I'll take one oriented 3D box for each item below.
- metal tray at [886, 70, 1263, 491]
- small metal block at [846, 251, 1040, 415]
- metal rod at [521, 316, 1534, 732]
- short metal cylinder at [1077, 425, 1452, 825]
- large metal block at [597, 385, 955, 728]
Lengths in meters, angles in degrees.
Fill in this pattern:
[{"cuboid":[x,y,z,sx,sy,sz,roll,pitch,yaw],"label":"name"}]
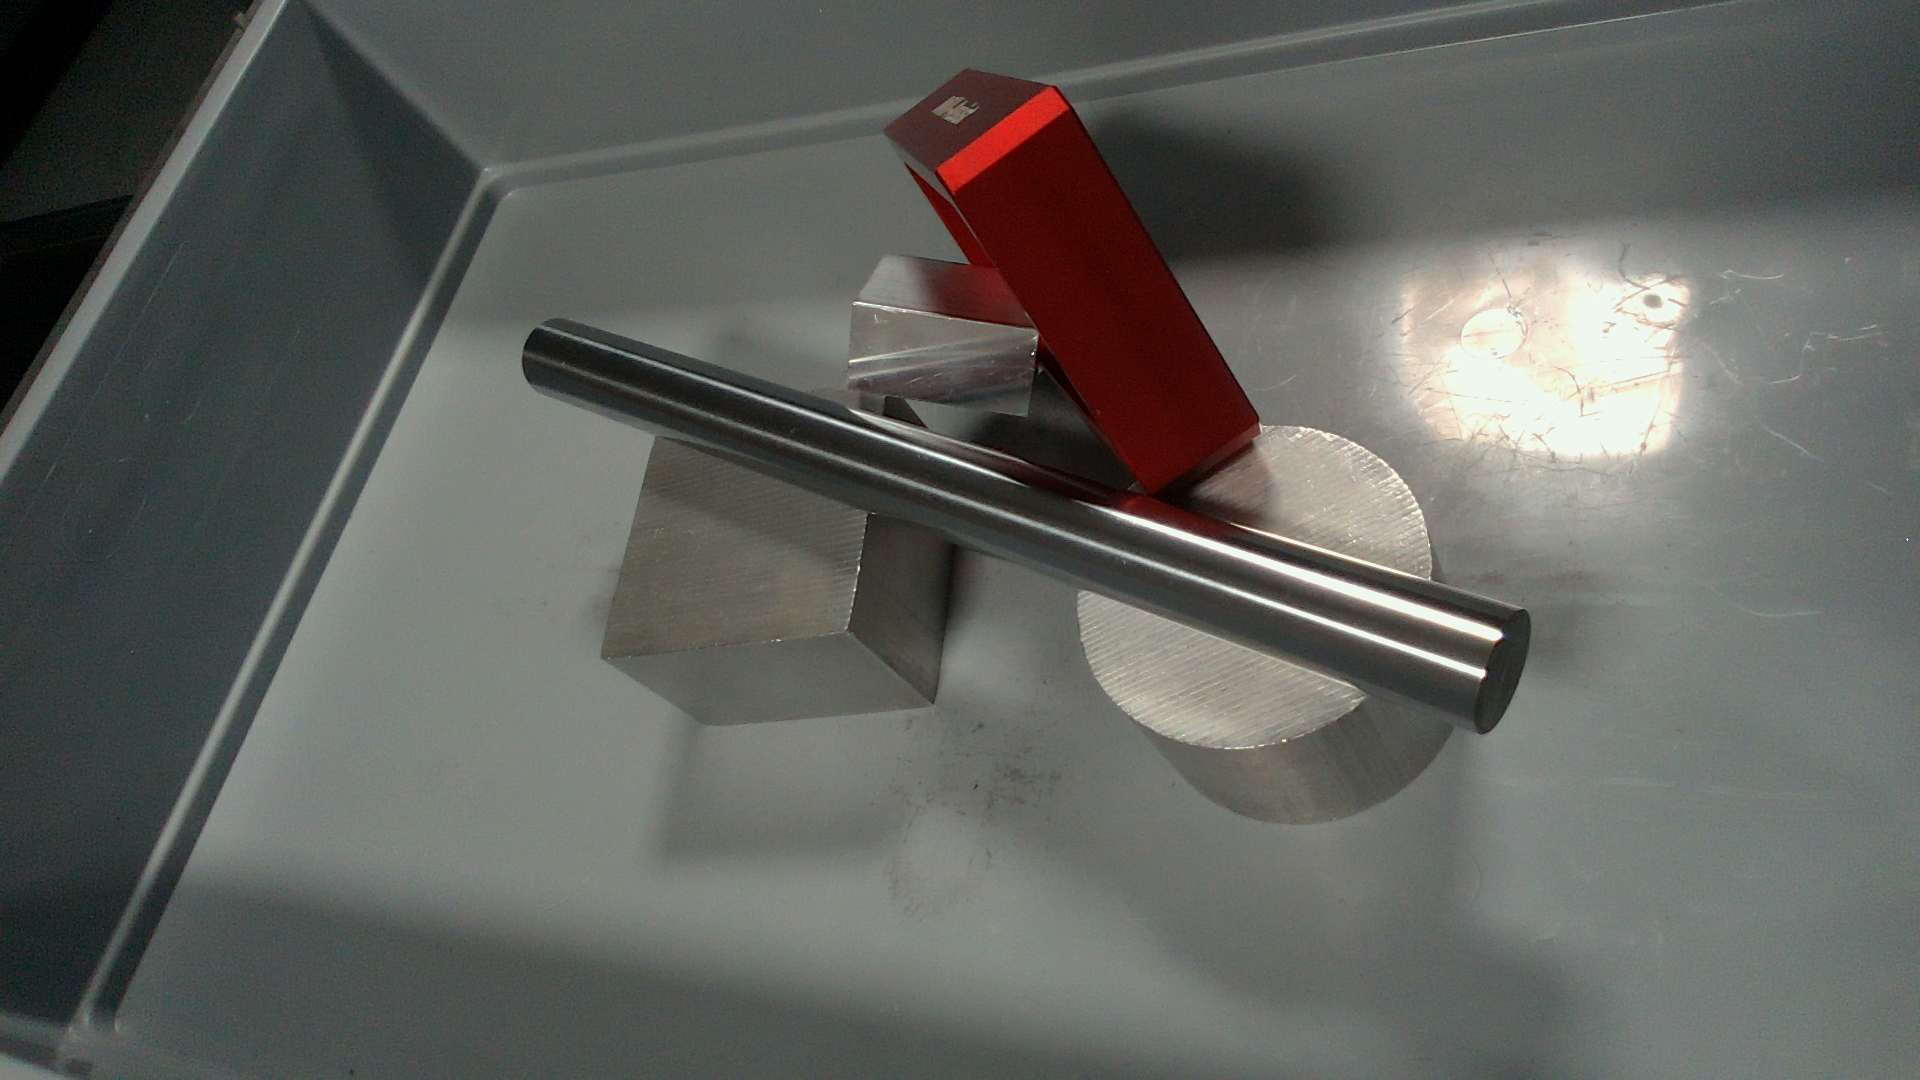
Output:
[{"cuboid":[0.023,-0.071,0.350,0.030,0.090,0.130,-35,21,5],"label":"metal tray"},{"cuboid":[-0.001,-0.059,0.386,0.050,0.025,0.050,9,27,4],"label":"small metal block"},{"cuboid":[-0.012,-0.017,0.344,0.299,0.025,0.025,20,72,36],"label":"metal rod"},{"cuboid":[0.074,0.020,0.324,0.080,0.050,0.080,-14,56,21],"label":"short metal cylinder"},{"cuboid":[-0.049,0.005,0.400,0.080,0.050,0.080,-8,58,25],"label":"large metal block"}]
